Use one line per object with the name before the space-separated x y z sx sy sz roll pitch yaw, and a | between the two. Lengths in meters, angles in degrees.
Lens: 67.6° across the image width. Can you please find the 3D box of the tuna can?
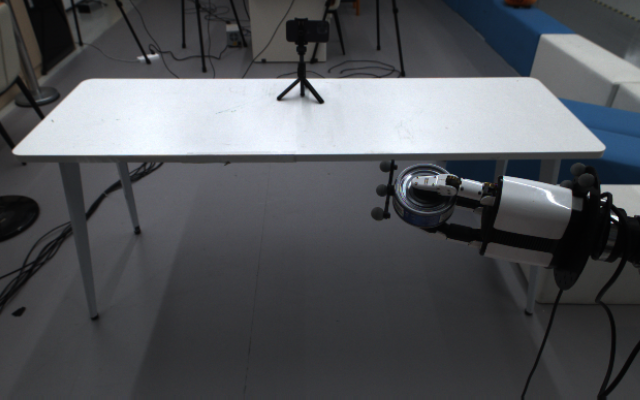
tuna can | 0.145 -0.008 0.657 0.085 0.034 0.085 -2 57 3
